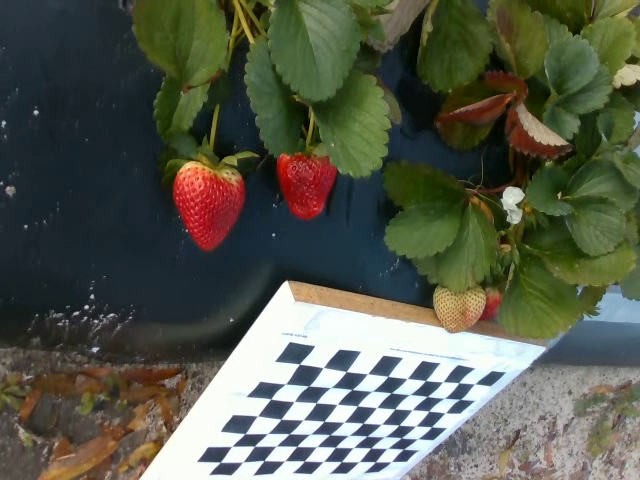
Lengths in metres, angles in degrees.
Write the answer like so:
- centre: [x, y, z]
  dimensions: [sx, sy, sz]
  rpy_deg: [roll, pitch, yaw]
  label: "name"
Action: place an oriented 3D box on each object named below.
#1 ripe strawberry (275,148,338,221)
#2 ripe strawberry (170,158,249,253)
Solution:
- centre: [-0.007, -0.037, 0.394]
  dimensions: [0.042, 0.053, 0.034]
  rpy_deg: [3, 7, -21]
  label: "ripe strawberry"
- centre: [-0.068, -0.020, 0.374]
  dimensions: [0.050, 0.061, 0.045]
  rpy_deg: [7, 2, -24]
  label: "ripe strawberry"
